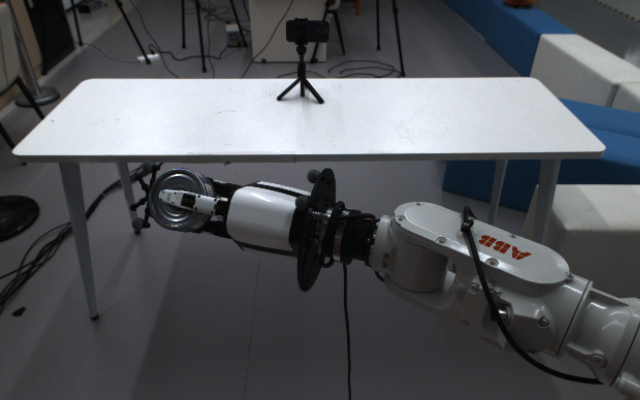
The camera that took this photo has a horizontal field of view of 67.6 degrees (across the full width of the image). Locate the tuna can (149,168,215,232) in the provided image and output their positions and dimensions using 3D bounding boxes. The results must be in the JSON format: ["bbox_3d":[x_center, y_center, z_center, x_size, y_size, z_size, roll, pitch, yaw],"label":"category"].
[{"bbox_3d":[-0.184,0.003,0.652,0.085,0.085,0.034,10,-5,11],"label":"tuna can"}]
